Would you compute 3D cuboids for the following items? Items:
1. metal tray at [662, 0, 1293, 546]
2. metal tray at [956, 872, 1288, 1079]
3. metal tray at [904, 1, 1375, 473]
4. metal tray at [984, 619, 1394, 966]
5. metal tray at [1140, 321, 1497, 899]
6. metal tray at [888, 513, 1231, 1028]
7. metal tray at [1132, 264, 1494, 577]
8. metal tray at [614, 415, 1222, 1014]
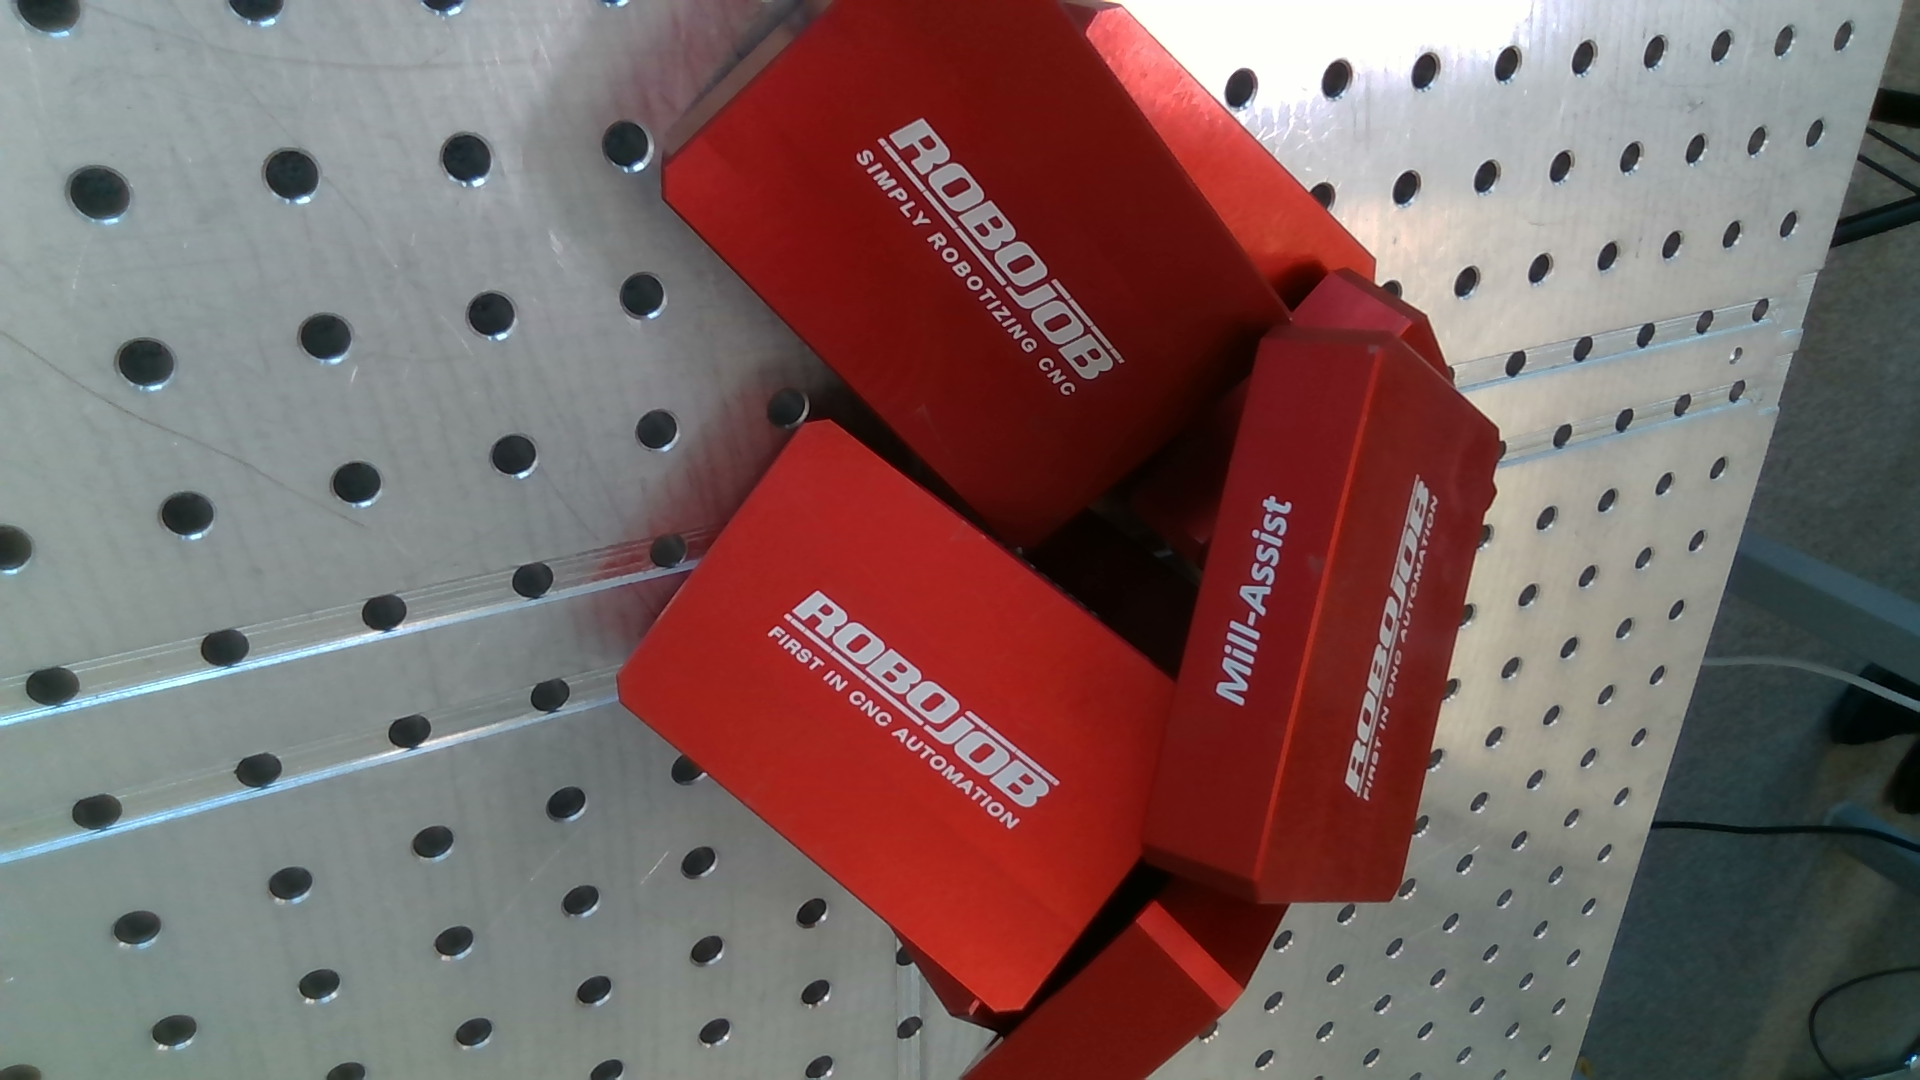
[{"bbox_3d":[0.006,-0.070,0.325,0.090,0.030,0.130,-39,119,12],"label":"metal tray"},{"bbox_3d":[0.060,0.115,0.406,0.090,0.030,0.130,-51,168,29],"label":"metal tray"},{"bbox_3d":[0.048,-0.073,0.378,0.130,0.030,0.090,29,98,-39],"label":"metal tray"},{"bbox_3d":[0.071,0.084,0.449,0.090,0.030,0.130,-5,137,-30],"label":"metal tray"},{"bbox_3d":[0.093,0.021,0.344,0.090,0.030,0.130,19,84,-51],"label":"metal tray"},{"bbox_3d":[0.026,0.064,0.402,0.030,0.090,0.130,36,93,-39],"label":"metal tray"},{"bbox_3d":[0.115,-0.014,0.428,0.090,0.030,0.130,-49,144,2],"label":"metal tray"},{"bbox_3d":[-0.010,0.042,0.349,0.090,0.130,0.030,-53,171,4],"label":"metal tray"}]
